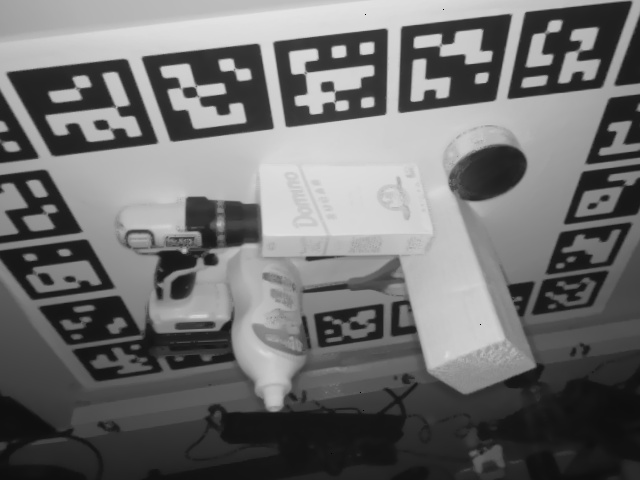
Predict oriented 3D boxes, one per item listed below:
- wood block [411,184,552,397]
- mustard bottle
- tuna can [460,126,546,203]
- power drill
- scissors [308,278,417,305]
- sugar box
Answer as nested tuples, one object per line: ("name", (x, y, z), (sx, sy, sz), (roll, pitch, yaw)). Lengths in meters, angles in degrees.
("wood block", (0.167, 0.052, 0.766), (0.090, 0.207, 0.090), (-27, 133, 19))
("mustard bottle", (-0.049, 0.100, 0.785), (0.057, 0.192, 0.097), (-37, 130, 26))
("tuna can", (0.193, -0.079, 0.738), (0.086, 0.034, 0.085), (-5, 137, -4))
("power drill", (-0.106, 0.029, 0.785), (0.186, 0.057, 0.184), (2, 129, -13))
("scissors", (0.085, 0.066, 0.891), (0.203, 0.016, 0.087), (-6, 141, -5))
("sugar box", (0.032, -0.035, 0.718), (0.177, 0.093, 0.045), (2, 140, -10))
